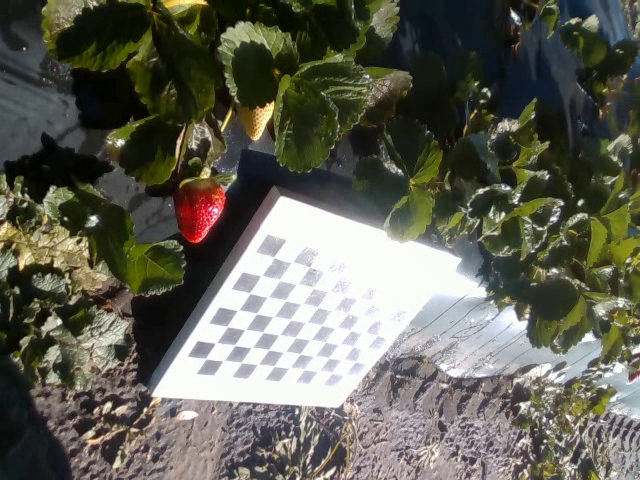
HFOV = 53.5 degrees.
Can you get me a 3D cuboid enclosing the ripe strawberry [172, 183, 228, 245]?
[{"bbox_3d":[-0.107,-0.025,0.548,0.048,0.069,0.040,-1,31,-30],"label":"ripe strawberry"}]
